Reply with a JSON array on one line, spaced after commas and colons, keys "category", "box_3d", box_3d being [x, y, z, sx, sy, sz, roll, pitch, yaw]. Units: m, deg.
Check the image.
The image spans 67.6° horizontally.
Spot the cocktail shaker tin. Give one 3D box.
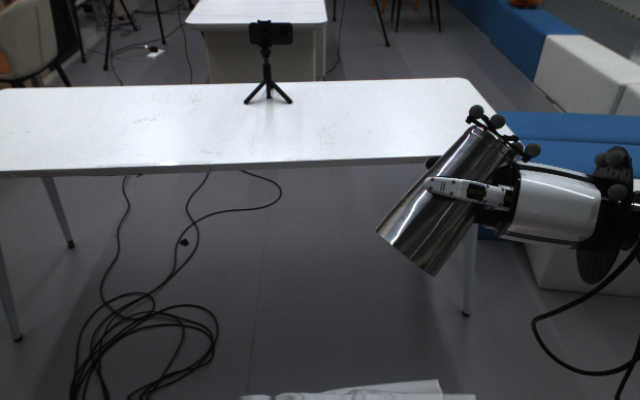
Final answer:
[{"category": "cocktail shaker tin", "box_3d": [0.155, -0.006, 0.583, 0.170, 0.093, 0.093, -50, 46, 4]}]
